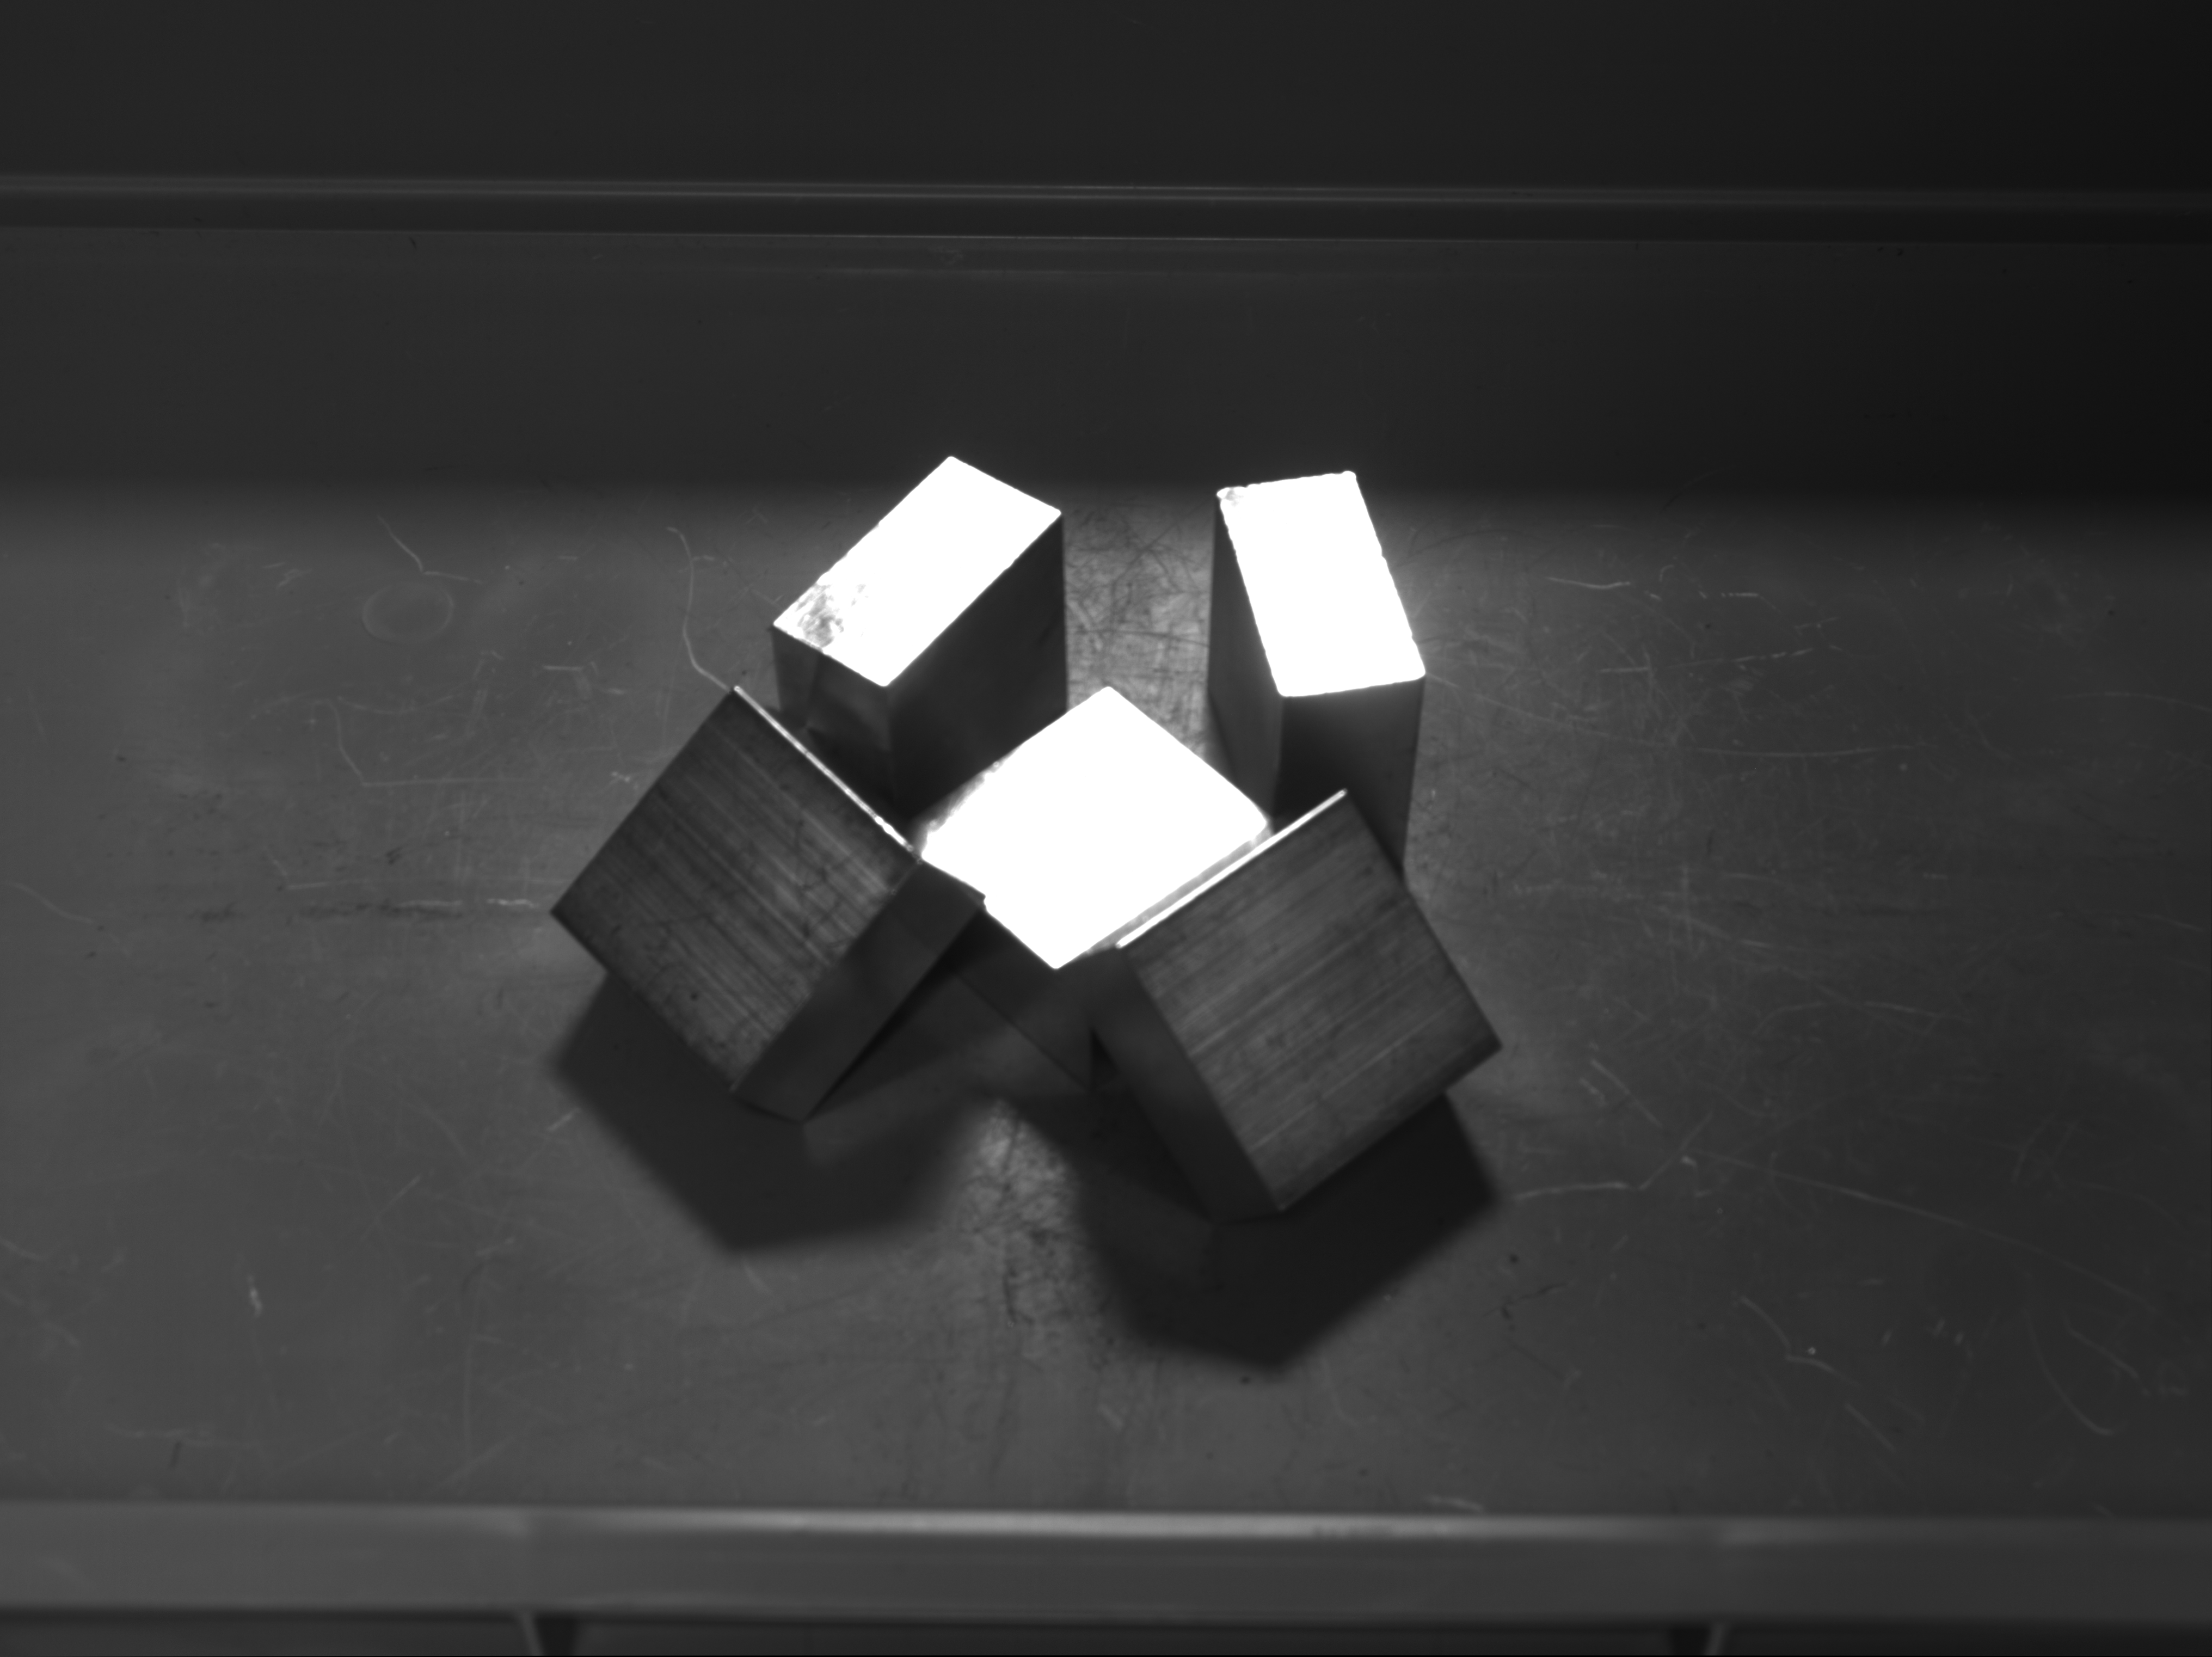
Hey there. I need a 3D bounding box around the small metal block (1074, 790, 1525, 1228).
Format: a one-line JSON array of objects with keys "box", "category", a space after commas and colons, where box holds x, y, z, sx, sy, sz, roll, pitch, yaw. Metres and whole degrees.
[{"box": [0.032, 0.030, 0.599, 0.050, 0.025, 0.050, -33, 94, -25], "category": "small metal block"}]

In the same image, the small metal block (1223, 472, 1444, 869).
[{"box": [0.039, -0.026, 0.645, 0.025, 0.050, 0.050, -8, 50, -8], "category": "small metal block"}]

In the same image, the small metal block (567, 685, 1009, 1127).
[{"box": [-0.053, 0.013, 0.614, 0.050, 0.025, 0.050, 42, 94, 29], "category": "small metal block"}]

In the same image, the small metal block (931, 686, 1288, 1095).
[{"box": [0.002, 0.010, 0.631, 0.050, 0.025, 0.050, -35, 58, -26], "category": "small metal block"}]

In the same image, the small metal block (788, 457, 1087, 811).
[{"box": [-0.029, -0.028, 0.647, 0.025, 0.050, 0.050, 29, 56, 23], "category": "small metal block"}]
